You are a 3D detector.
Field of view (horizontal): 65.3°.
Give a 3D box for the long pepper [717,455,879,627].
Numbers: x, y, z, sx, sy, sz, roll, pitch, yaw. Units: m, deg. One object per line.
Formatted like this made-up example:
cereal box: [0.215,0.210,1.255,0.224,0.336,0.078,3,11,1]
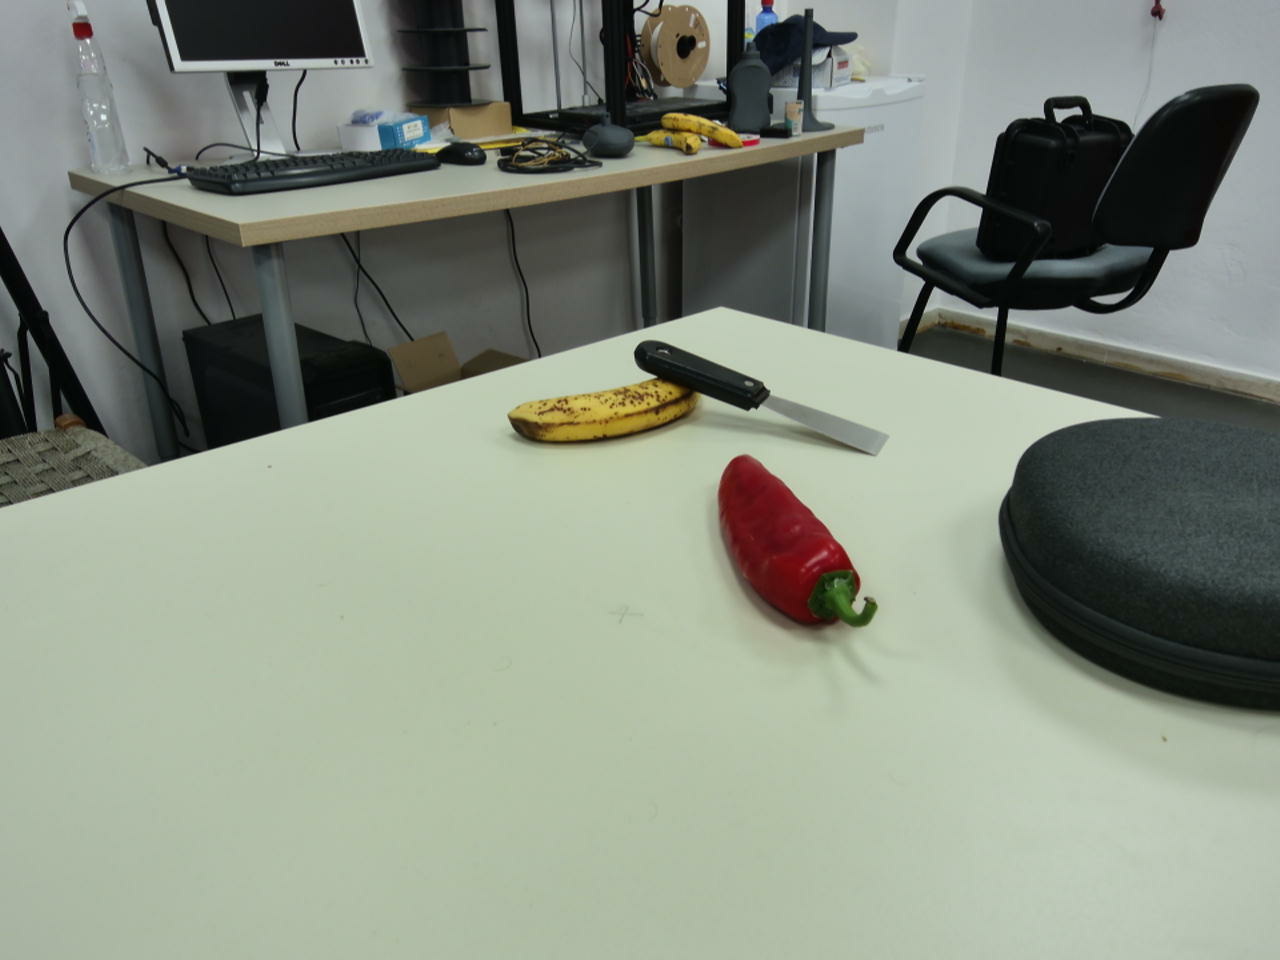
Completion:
long pepper: [0.074,0.028,0.538,0.050,0.043,0.211,-4,24,-8]
